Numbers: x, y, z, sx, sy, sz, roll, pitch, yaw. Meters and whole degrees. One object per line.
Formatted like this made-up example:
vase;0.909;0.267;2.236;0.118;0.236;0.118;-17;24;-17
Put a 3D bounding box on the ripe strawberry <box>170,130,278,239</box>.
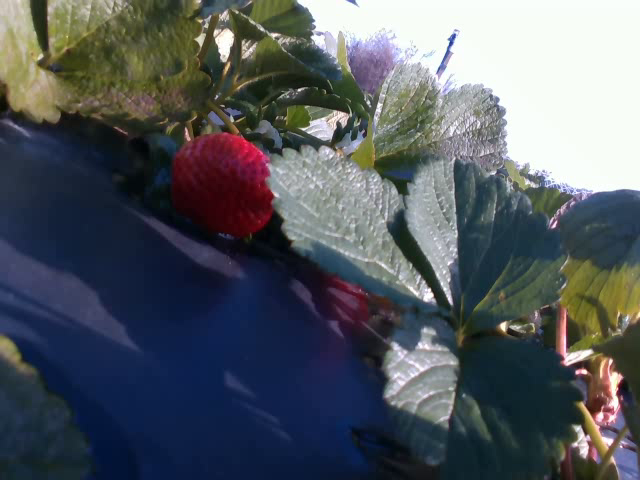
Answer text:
ripe strawberry;-0.028;-0.018;0.197;0.043;0.036;0.051;-24;29;-38
